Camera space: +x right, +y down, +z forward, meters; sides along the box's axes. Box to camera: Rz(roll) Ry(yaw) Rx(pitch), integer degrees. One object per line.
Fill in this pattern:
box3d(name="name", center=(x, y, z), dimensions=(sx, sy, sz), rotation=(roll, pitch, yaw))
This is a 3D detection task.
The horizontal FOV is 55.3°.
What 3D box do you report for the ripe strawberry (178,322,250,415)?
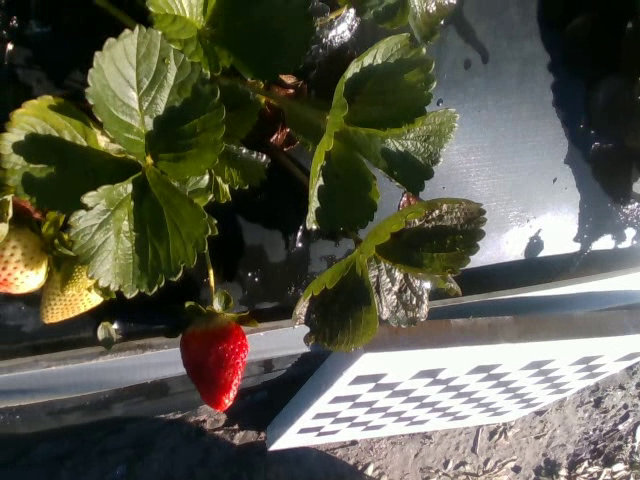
box3d(name="ripe strawberry", center=(-0.049, 0.058, 0.277), dimensions=(0.036, 0.046, 0.038), rotation=(2, -16, -16))
